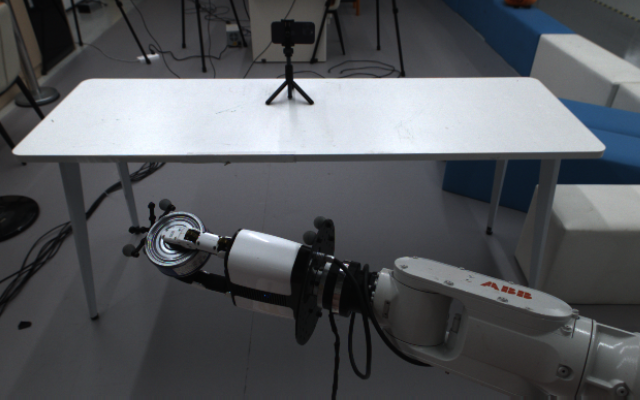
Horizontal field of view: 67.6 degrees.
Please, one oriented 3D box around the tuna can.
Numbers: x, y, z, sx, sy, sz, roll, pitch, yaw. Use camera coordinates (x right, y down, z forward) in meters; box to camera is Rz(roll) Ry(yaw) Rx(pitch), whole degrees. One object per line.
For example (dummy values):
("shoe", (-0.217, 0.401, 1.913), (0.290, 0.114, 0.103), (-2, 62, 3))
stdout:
("tuna can", (-0.189, 0.059, 0.655), (0.085, 0.034, 0.085), (-3, 59, 6))
